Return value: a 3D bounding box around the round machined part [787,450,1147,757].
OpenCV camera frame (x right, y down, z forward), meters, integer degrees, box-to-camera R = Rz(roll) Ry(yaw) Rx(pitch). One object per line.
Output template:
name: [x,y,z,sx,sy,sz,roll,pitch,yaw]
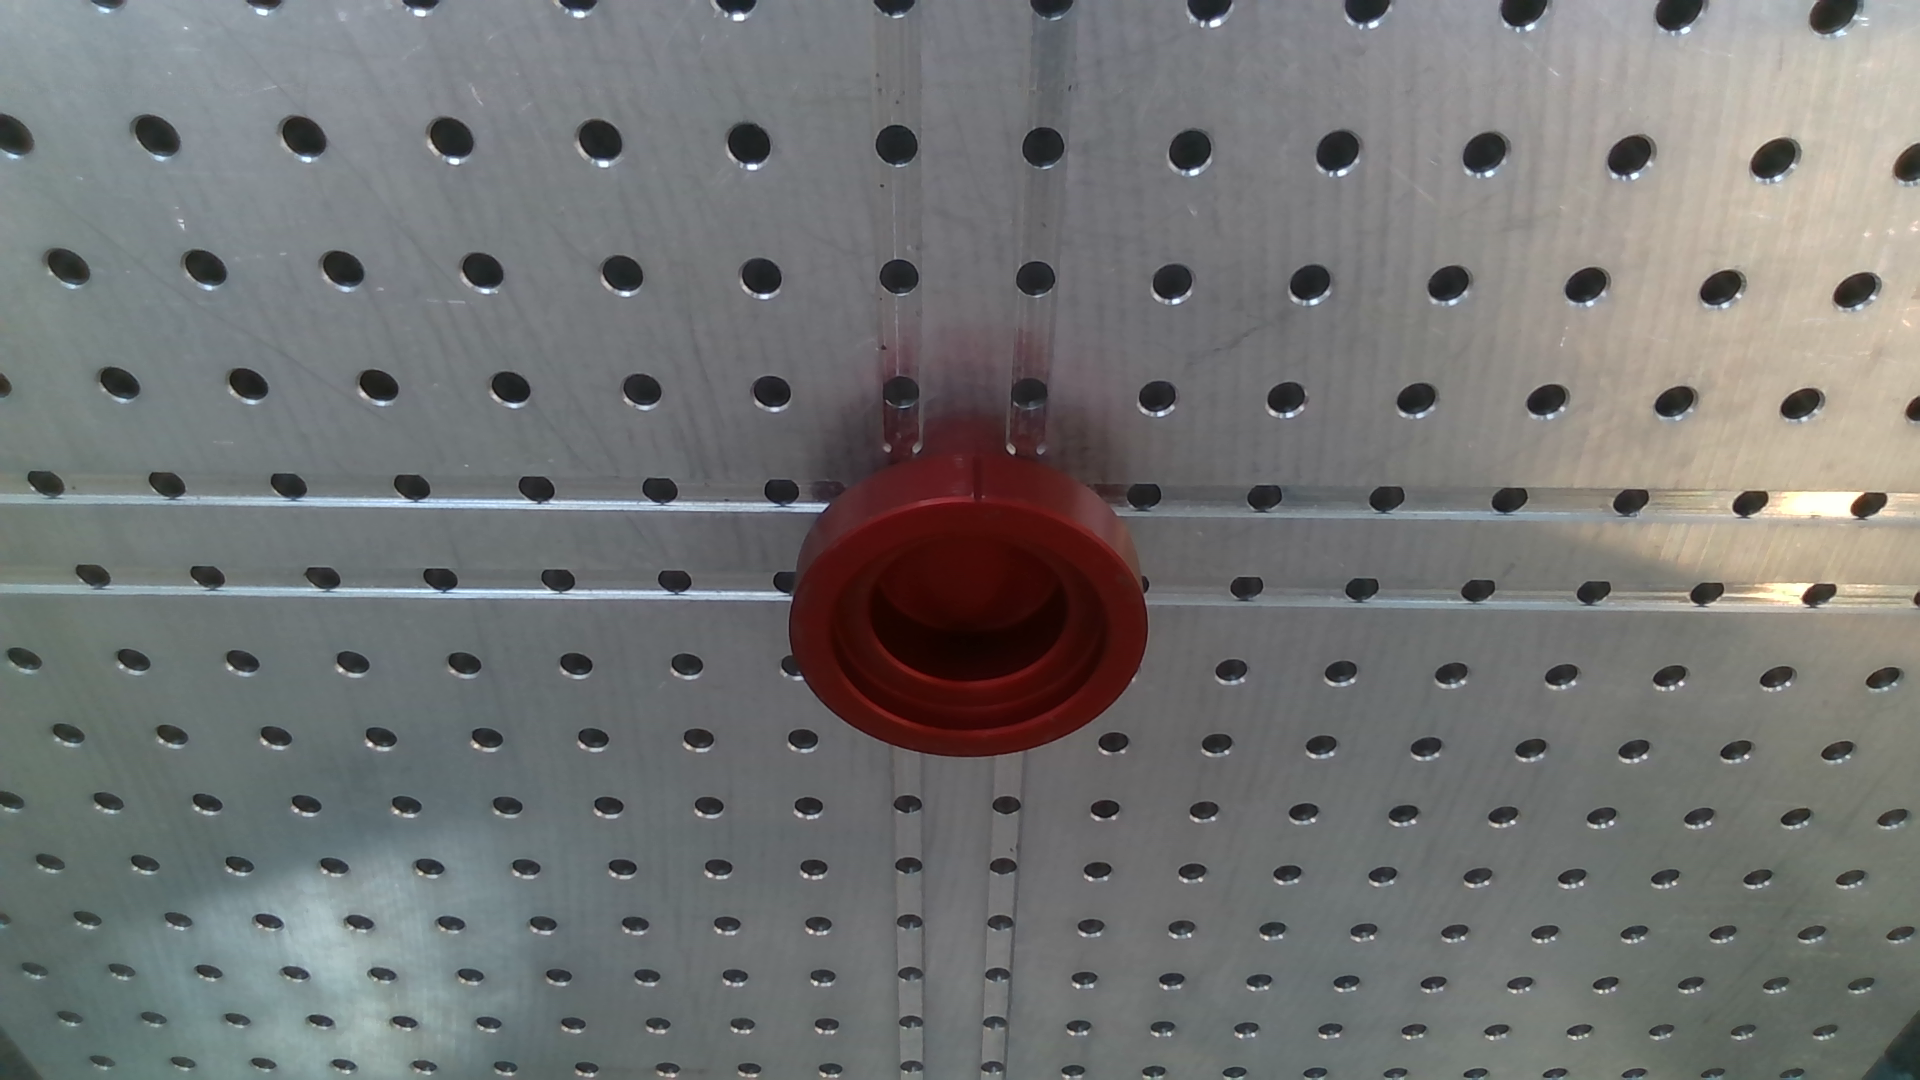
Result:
round machined part: [0.002,0.014,0.391,0.098,0.042,0.098,0,130,0]
